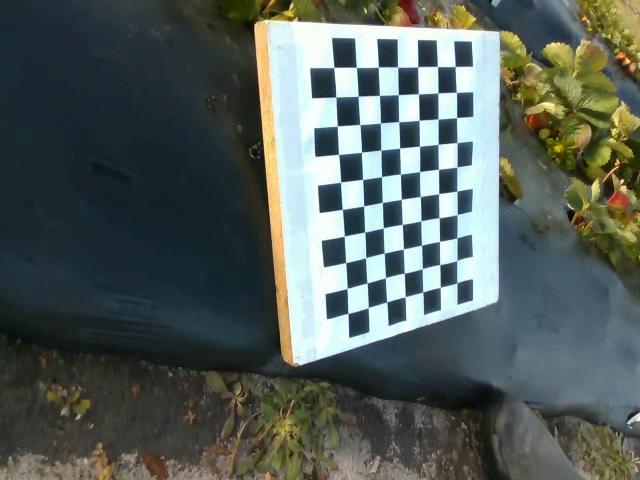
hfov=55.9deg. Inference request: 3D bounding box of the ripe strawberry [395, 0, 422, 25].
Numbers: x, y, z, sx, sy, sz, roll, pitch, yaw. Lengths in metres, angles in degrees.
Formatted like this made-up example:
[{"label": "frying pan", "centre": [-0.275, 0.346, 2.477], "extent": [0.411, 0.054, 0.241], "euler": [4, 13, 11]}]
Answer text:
[{"label": "ripe strawberry", "centre": [0.139, -0.370, 0.974], "extent": [0.064, 0.049, 0.050], "euler": [38, -13, -29]}]
